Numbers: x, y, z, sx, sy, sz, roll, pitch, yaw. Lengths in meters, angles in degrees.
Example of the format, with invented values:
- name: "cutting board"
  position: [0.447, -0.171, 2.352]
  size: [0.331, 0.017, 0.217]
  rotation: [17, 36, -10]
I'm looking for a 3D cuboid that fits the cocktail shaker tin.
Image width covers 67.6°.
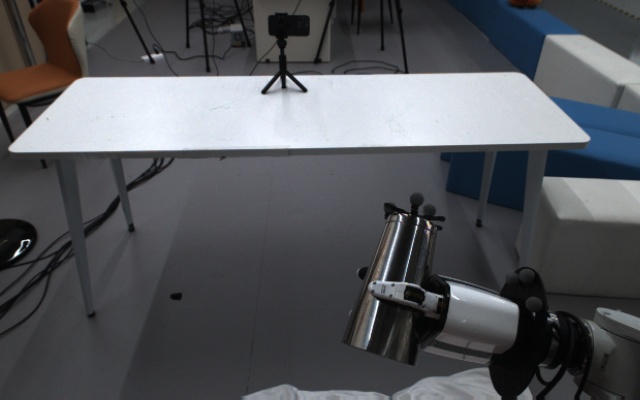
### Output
- name: "cocktail shaker tin"
  position: [0.093, 0.107, 0.602]
  size: [0.093, 0.093, 0.170]
  rotation: [14, 73, 17]
